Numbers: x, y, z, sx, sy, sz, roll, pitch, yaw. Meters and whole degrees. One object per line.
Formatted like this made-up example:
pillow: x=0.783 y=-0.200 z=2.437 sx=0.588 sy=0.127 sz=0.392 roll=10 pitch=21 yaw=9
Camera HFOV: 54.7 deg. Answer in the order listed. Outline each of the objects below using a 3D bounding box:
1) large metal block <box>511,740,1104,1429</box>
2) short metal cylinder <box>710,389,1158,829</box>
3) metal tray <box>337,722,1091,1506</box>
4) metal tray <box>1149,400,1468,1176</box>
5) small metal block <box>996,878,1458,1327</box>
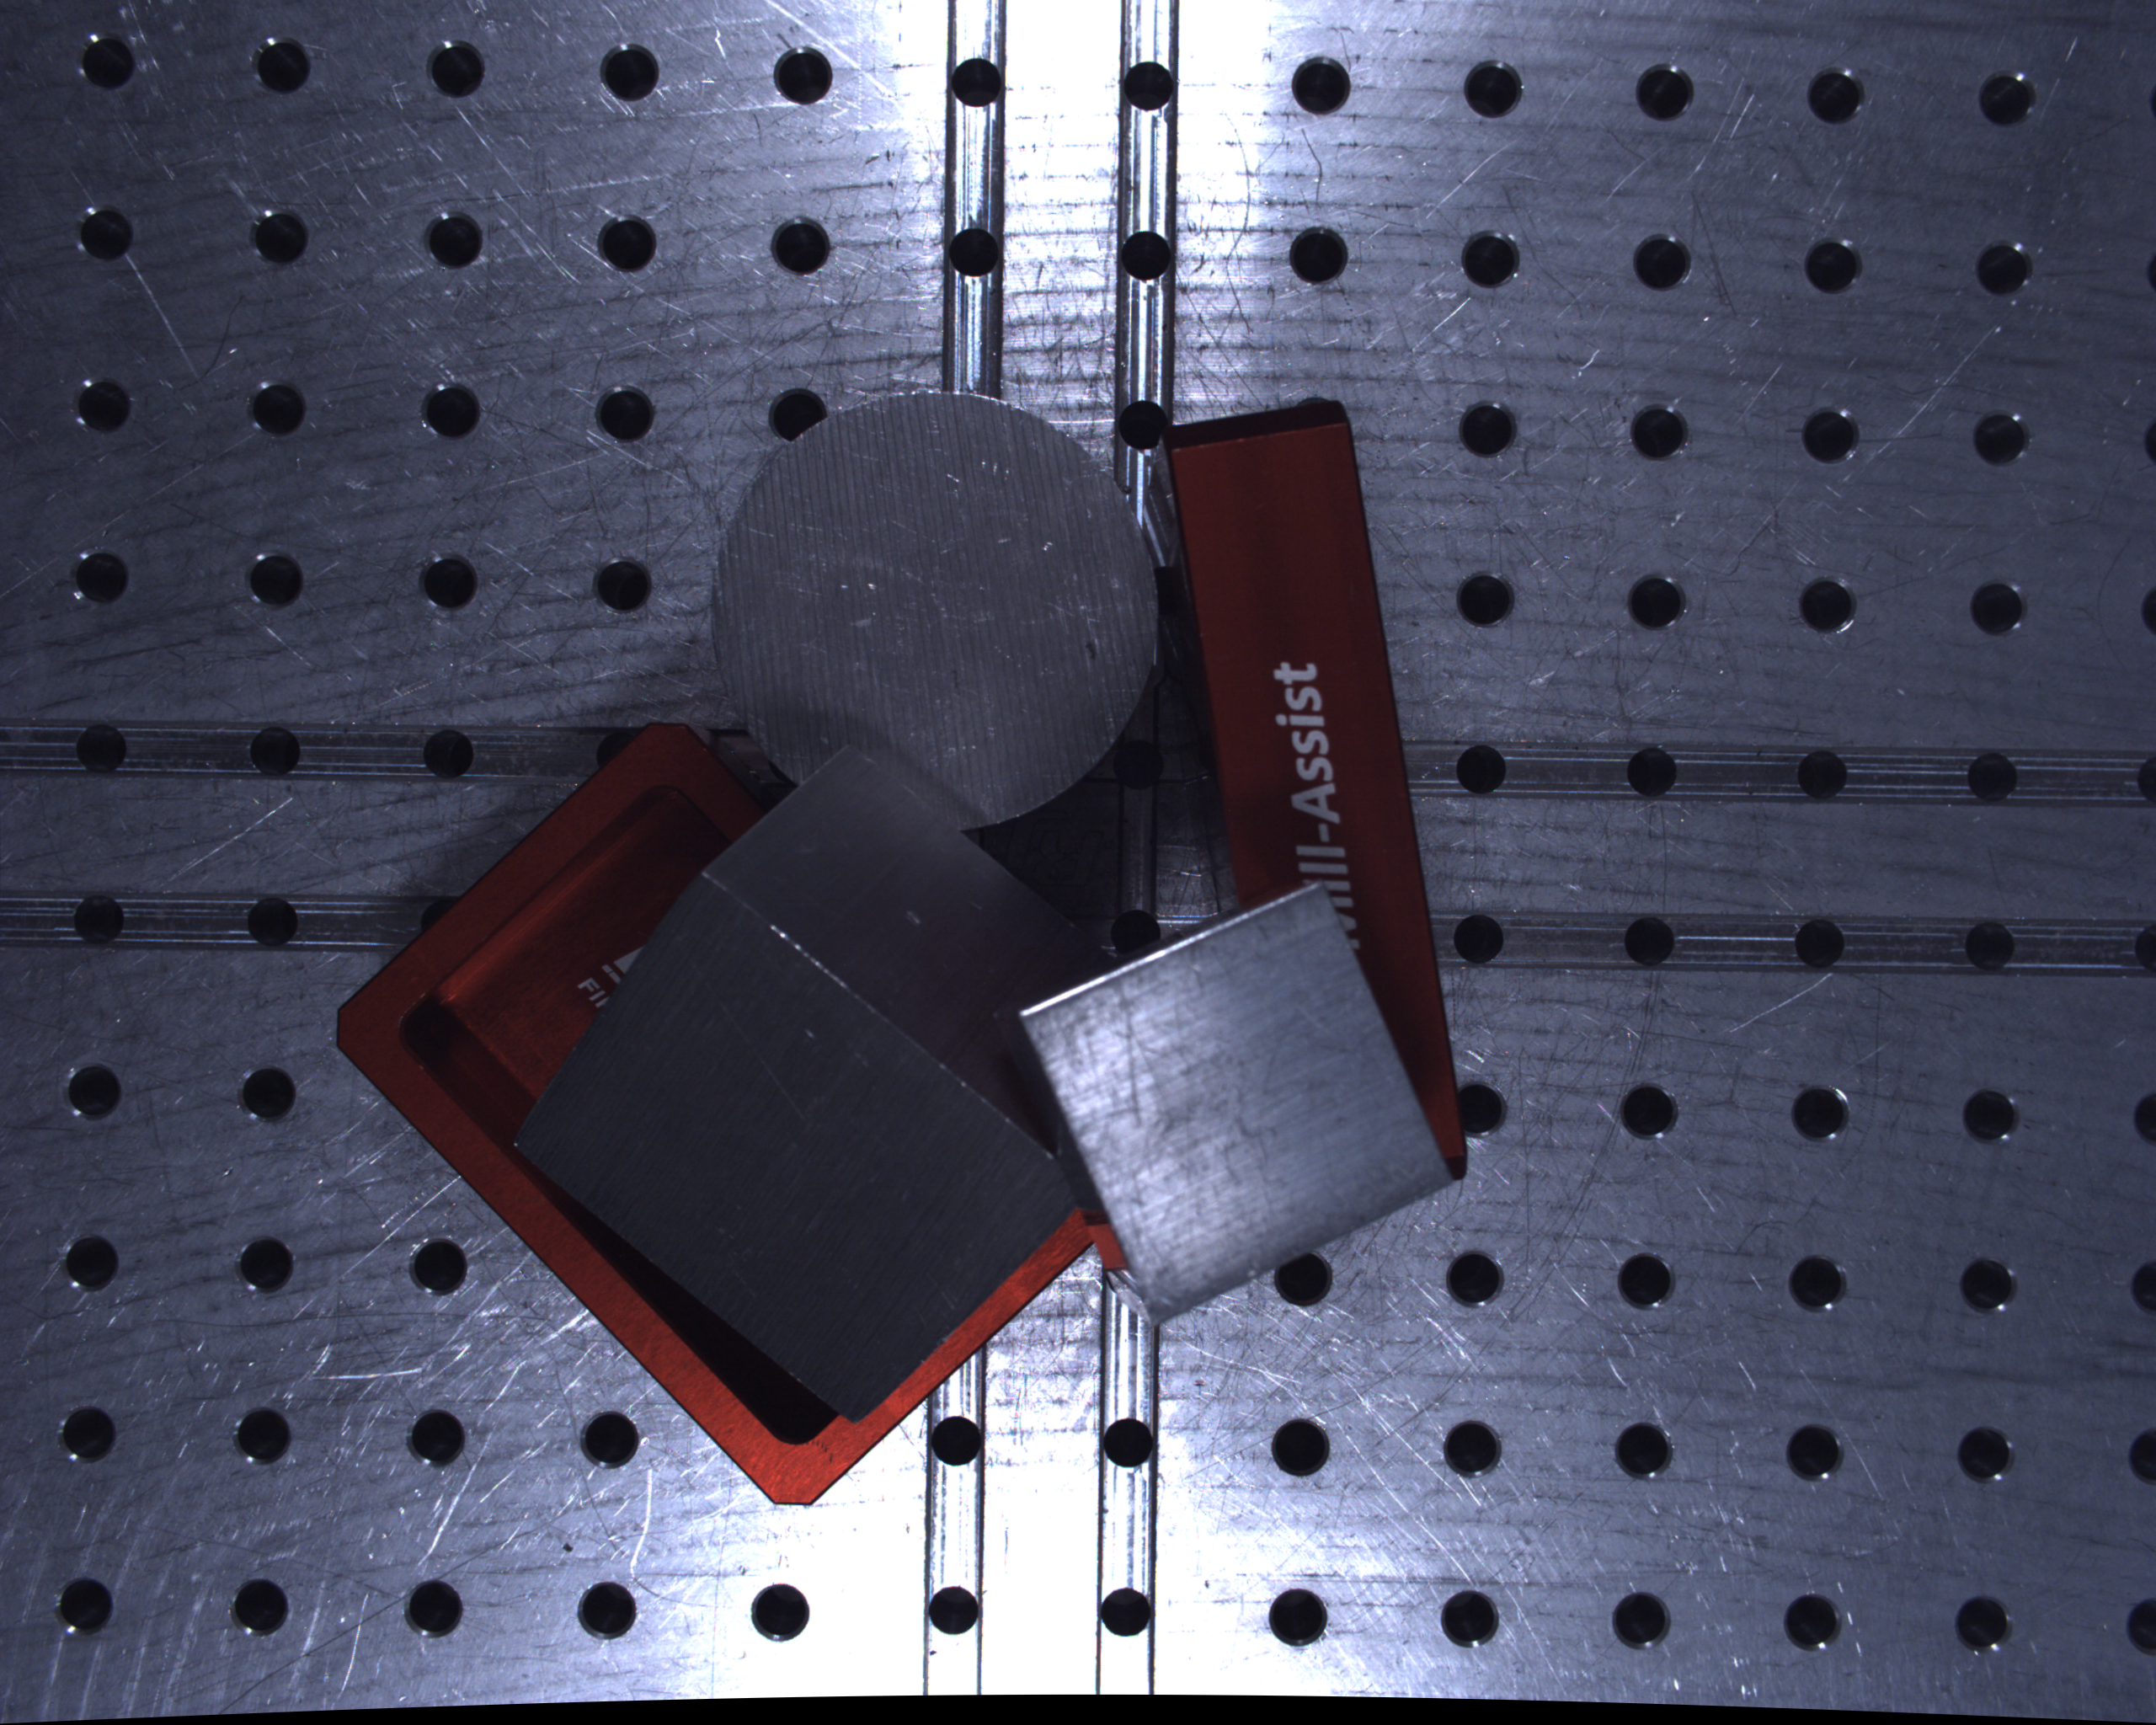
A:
large metal block: x=-0.040 y=0.040 z=0.369 sx=0.080 sy=0.050 sz=0.080 roll=40 pitch=125 yaw=-1
short metal cylinder: x=-0.026 y=-0.046 z=0.400 sx=0.081 sy=0.050 sz=0.079 roll=0 pitch=90 yaw=-1
metal tray: x=-0.066 y=0.048 z=0.409 sx=0.090 sy=0.030 sz=0.130 roll=-43 pitch=91 yaw=0
metal tray: x=0.039 y=-0.010 z=0.381 sx=0.030 sy=0.090 sz=0.129 roll=-9 pitch=90 yaw=0
small metal block: x=0.022 y=0.036 z=0.319 sx=0.050 sy=0.025 sz=0.050 roll=-24 pitch=91 yaw=-12
